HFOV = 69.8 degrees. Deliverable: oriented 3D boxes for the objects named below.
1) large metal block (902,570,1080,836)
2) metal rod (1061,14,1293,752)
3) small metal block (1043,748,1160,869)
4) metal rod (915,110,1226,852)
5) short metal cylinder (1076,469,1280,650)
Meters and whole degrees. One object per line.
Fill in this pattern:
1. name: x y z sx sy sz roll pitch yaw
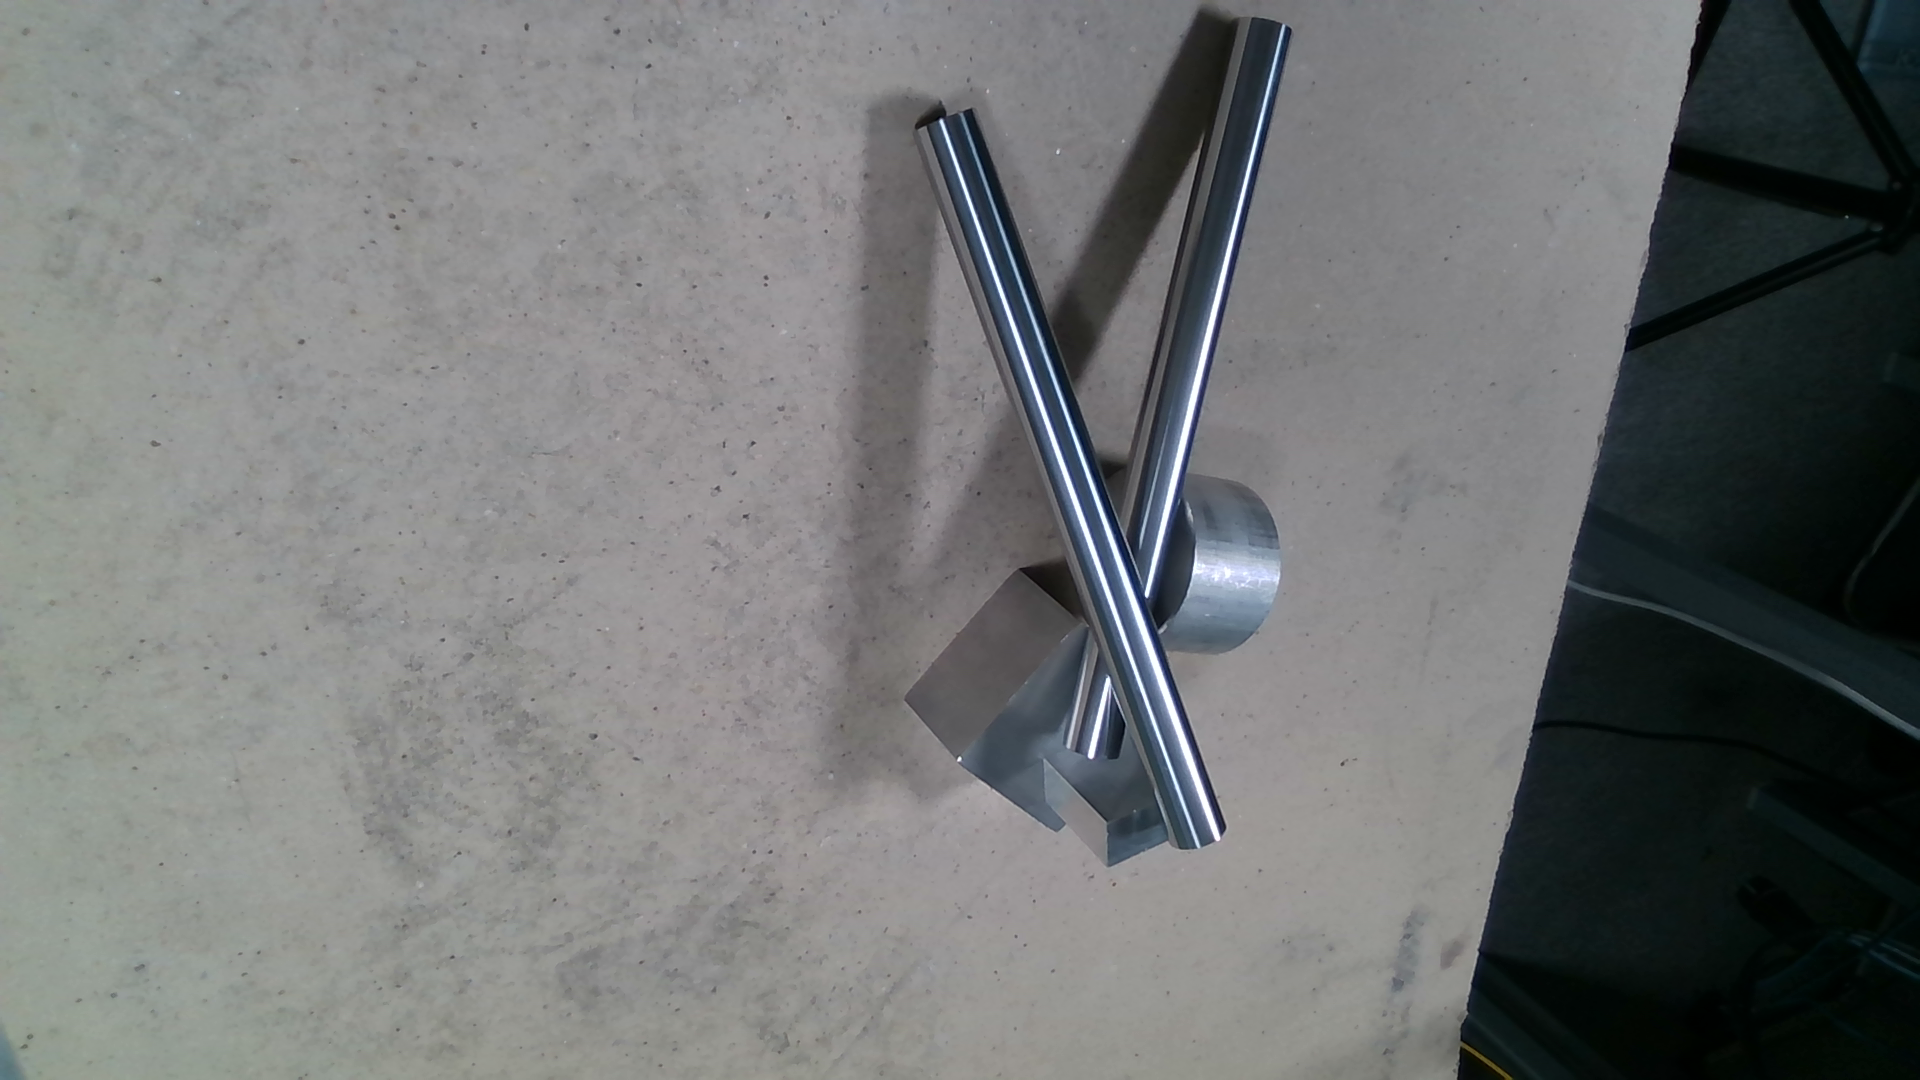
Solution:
1. large metal block: 0.035 0.074 0.625 0.080 0.050 0.080 -49 128 0
2. metal rod: 0.088 -0.059 0.566 0.025 0.025 0.300 7 99 -34
3. small metal block: 0.071 0.110 0.600 0.050 0.050 0.025 -18 122 -22
4. metal rod: 0.046 -0.014 0.533 0.025 0.025 0.300 -25 105 -18
5. short metal cylinder: 0.094 0.009 0.610 0.050 0.080 0.080 7 111 -34
